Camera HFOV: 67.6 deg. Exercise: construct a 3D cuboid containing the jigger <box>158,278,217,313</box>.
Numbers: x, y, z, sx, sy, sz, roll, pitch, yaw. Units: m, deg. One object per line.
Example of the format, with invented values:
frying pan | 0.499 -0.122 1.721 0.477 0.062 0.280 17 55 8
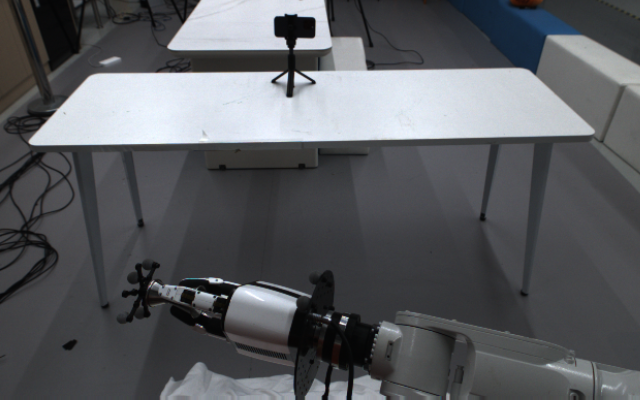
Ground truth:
jigger | -0.188 0.129 0.653 0.071 0.043 0.043 7 35 13
